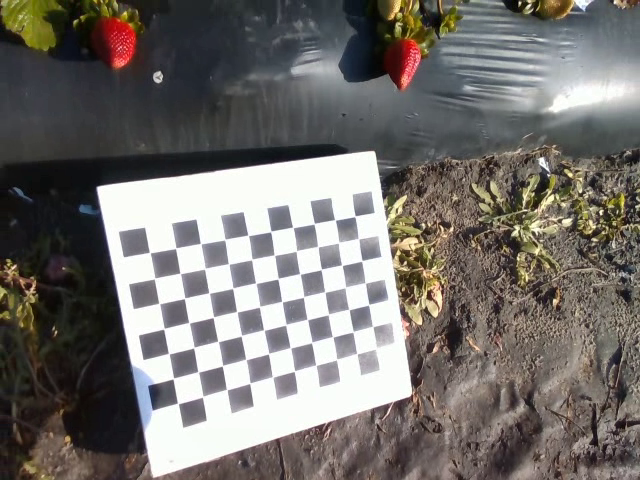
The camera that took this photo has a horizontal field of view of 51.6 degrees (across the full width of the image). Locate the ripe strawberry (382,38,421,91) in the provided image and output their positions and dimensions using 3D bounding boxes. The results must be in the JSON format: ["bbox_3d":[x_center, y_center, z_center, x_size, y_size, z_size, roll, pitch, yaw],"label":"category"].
[{"bbox_3d":[0.080,-0.169,0.644,0.042,0.059,0.042,14,-18,-27],"label":"ripe strawberry"}]

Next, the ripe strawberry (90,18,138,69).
[{"bbox_3d":[-0.174,-0.164,0.566,0.045,0.055,0.042,-2,-31,-28],"label":"ripe strawberry"}]
